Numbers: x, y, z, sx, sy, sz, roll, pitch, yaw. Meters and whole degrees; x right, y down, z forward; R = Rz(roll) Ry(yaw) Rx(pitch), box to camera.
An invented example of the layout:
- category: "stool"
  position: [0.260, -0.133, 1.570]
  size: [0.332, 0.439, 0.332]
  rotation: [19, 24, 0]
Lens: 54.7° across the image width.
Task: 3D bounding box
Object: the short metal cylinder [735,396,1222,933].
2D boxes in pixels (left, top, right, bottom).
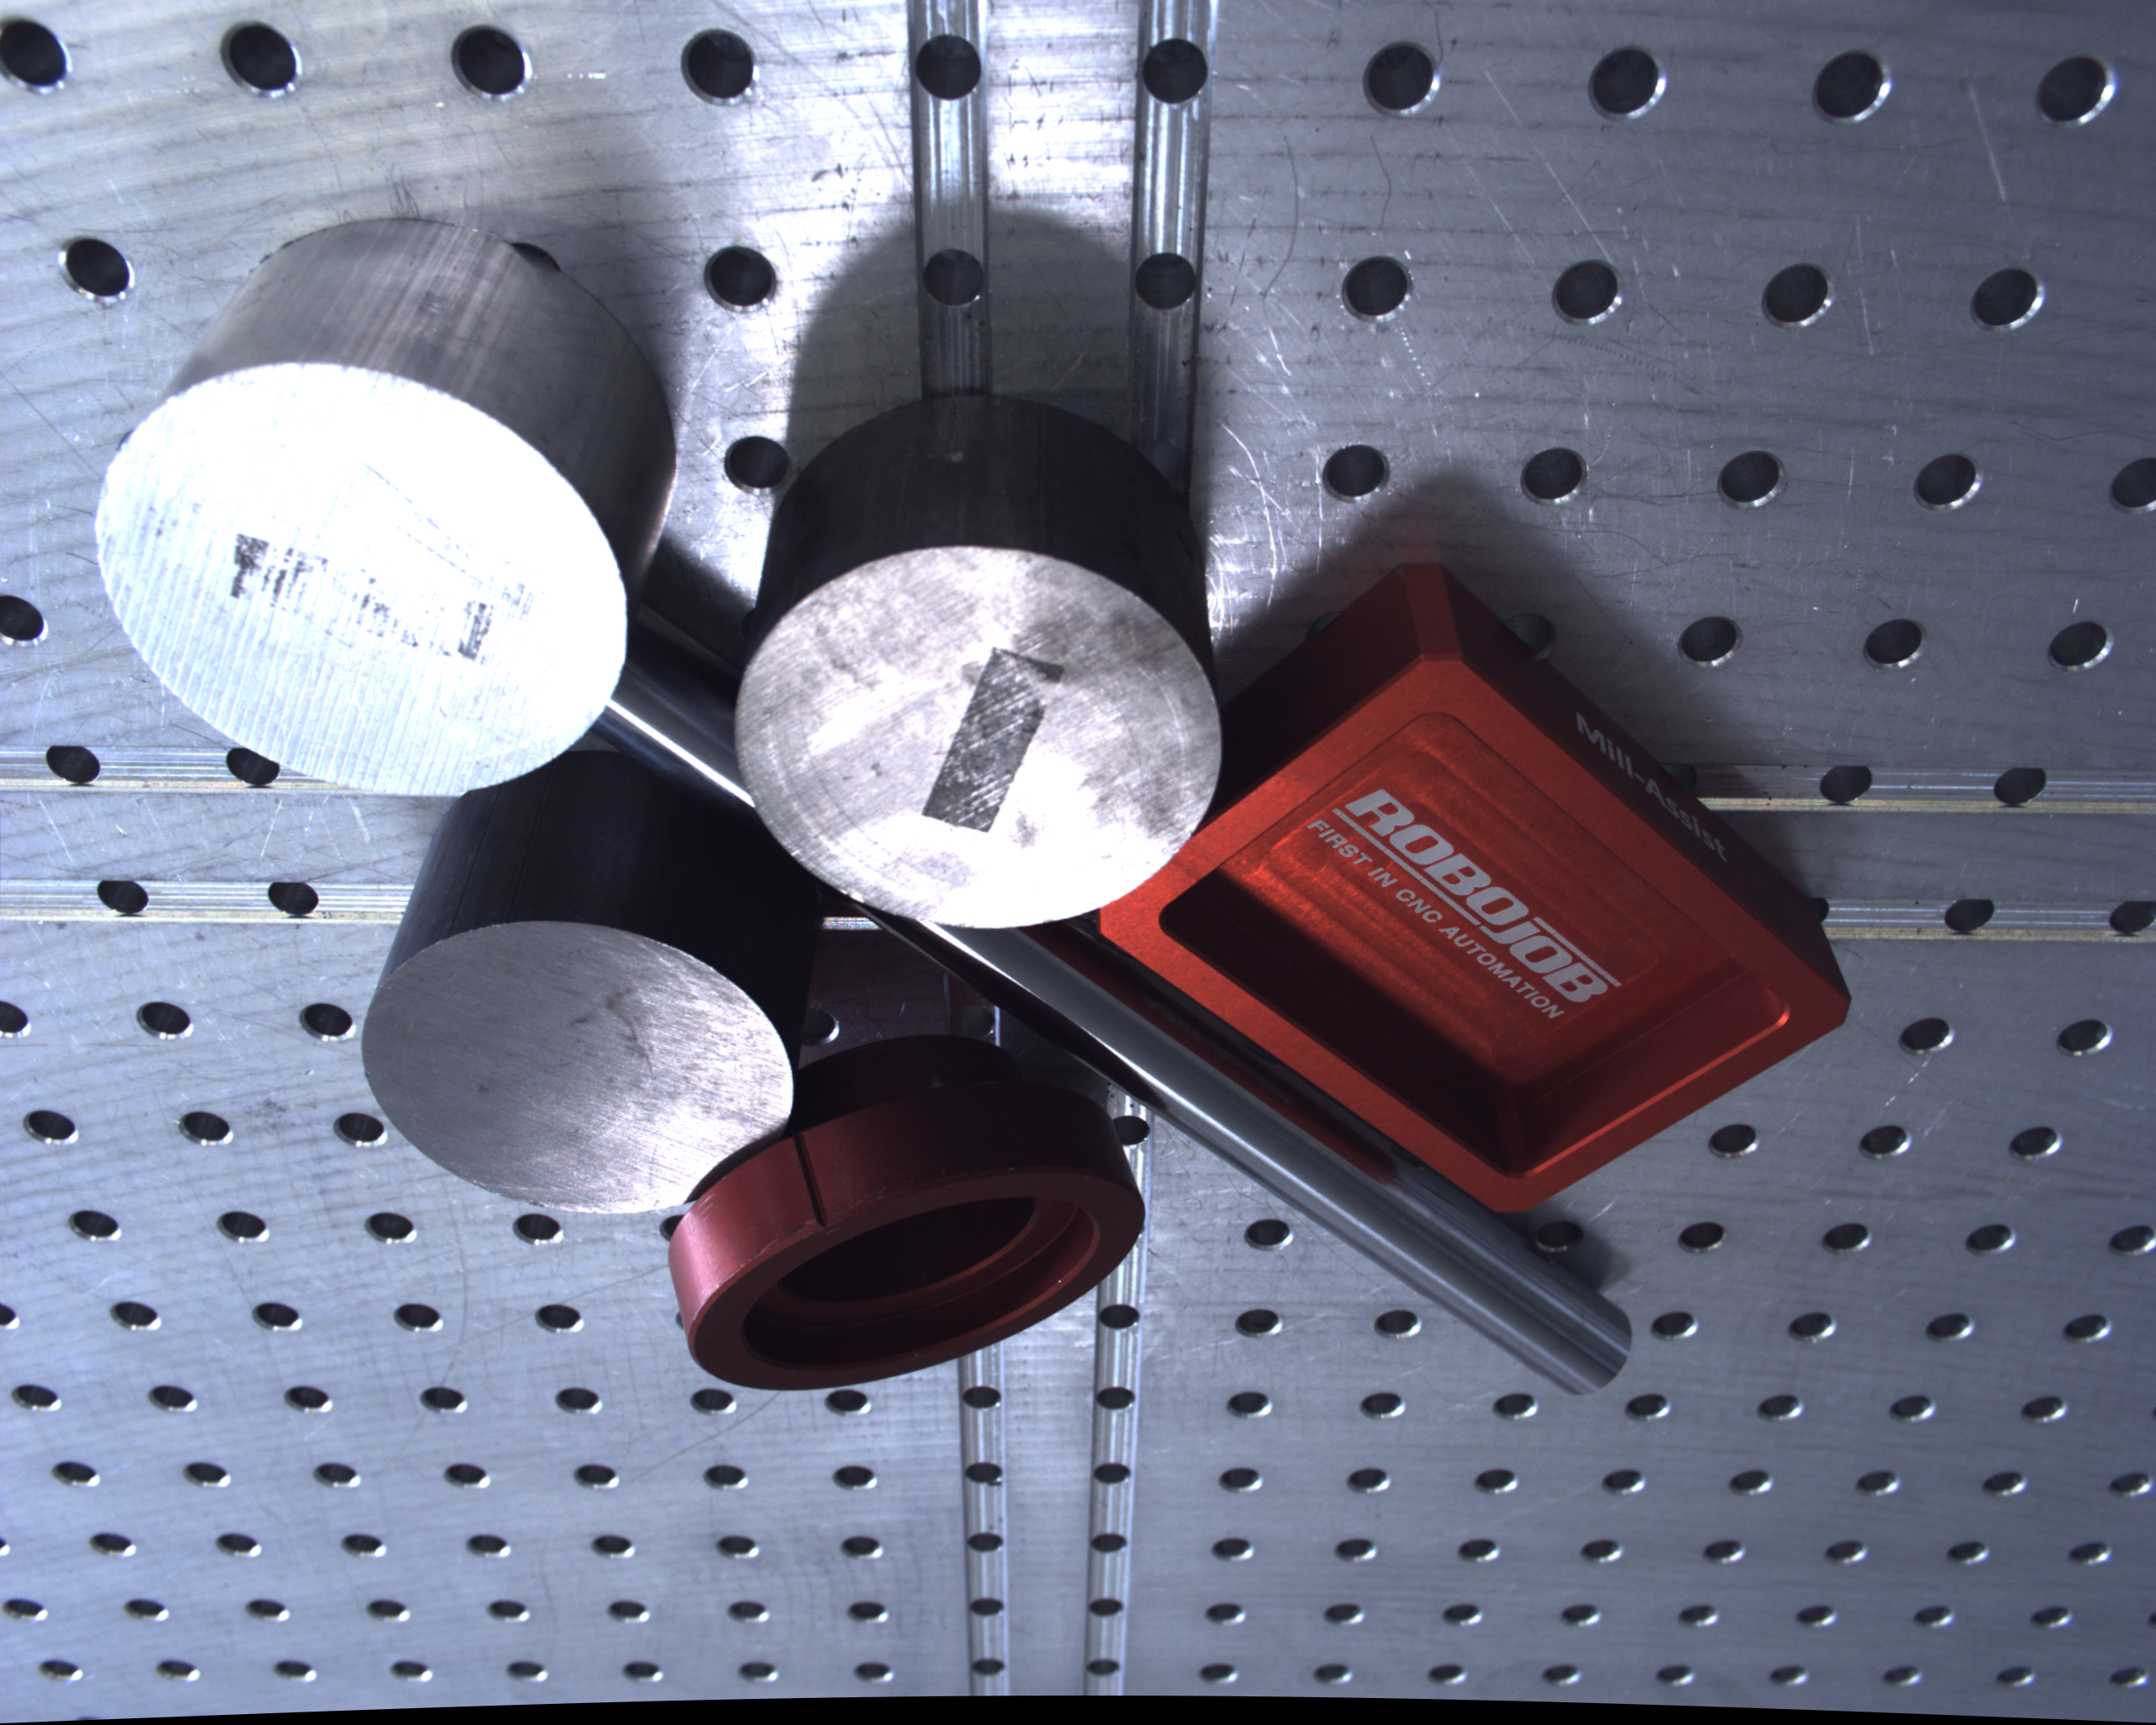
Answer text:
- category: "short metal cylinder"
  position: [-0.016, -0.034, 0.365]
  size: [0.081, 0.050, 0.079]
  rotation: [0, 130, 0]

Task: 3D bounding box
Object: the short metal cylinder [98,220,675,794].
- category: "short metal cylinder"
  position: [-0.111, -0.058, 0.345]
  size: [0.081, 0.050, 0.079]
  rotation: [0, 130, 0]

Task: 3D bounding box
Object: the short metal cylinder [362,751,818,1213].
- category: "short metal cylinder"
  position: [-0.094, 0.024, 0.415]
  size: [0.081, 0.050, 0.079]
  rotation: [0, 130, 0]

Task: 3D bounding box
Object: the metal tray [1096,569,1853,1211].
- category: "metal tray"
  position: [0.079, 0.011, 0.417]
  size: [0.130, 0.030, 0.090]
  rotation: [36, 122, -27]

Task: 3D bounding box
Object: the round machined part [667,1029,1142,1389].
- category: "round machined part"
  position: [-0.039, 0.071, 0.447]
  size: [0.099, 0.042, 0.098]
  rotation: [-15, 147, -10]

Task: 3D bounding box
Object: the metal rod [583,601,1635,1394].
- category: "metal rod"
  position: [0.019, 0.040, 0.446]
  size: [0.301, 0.025, 0.025]
  rotation: [36, 121, -27]
